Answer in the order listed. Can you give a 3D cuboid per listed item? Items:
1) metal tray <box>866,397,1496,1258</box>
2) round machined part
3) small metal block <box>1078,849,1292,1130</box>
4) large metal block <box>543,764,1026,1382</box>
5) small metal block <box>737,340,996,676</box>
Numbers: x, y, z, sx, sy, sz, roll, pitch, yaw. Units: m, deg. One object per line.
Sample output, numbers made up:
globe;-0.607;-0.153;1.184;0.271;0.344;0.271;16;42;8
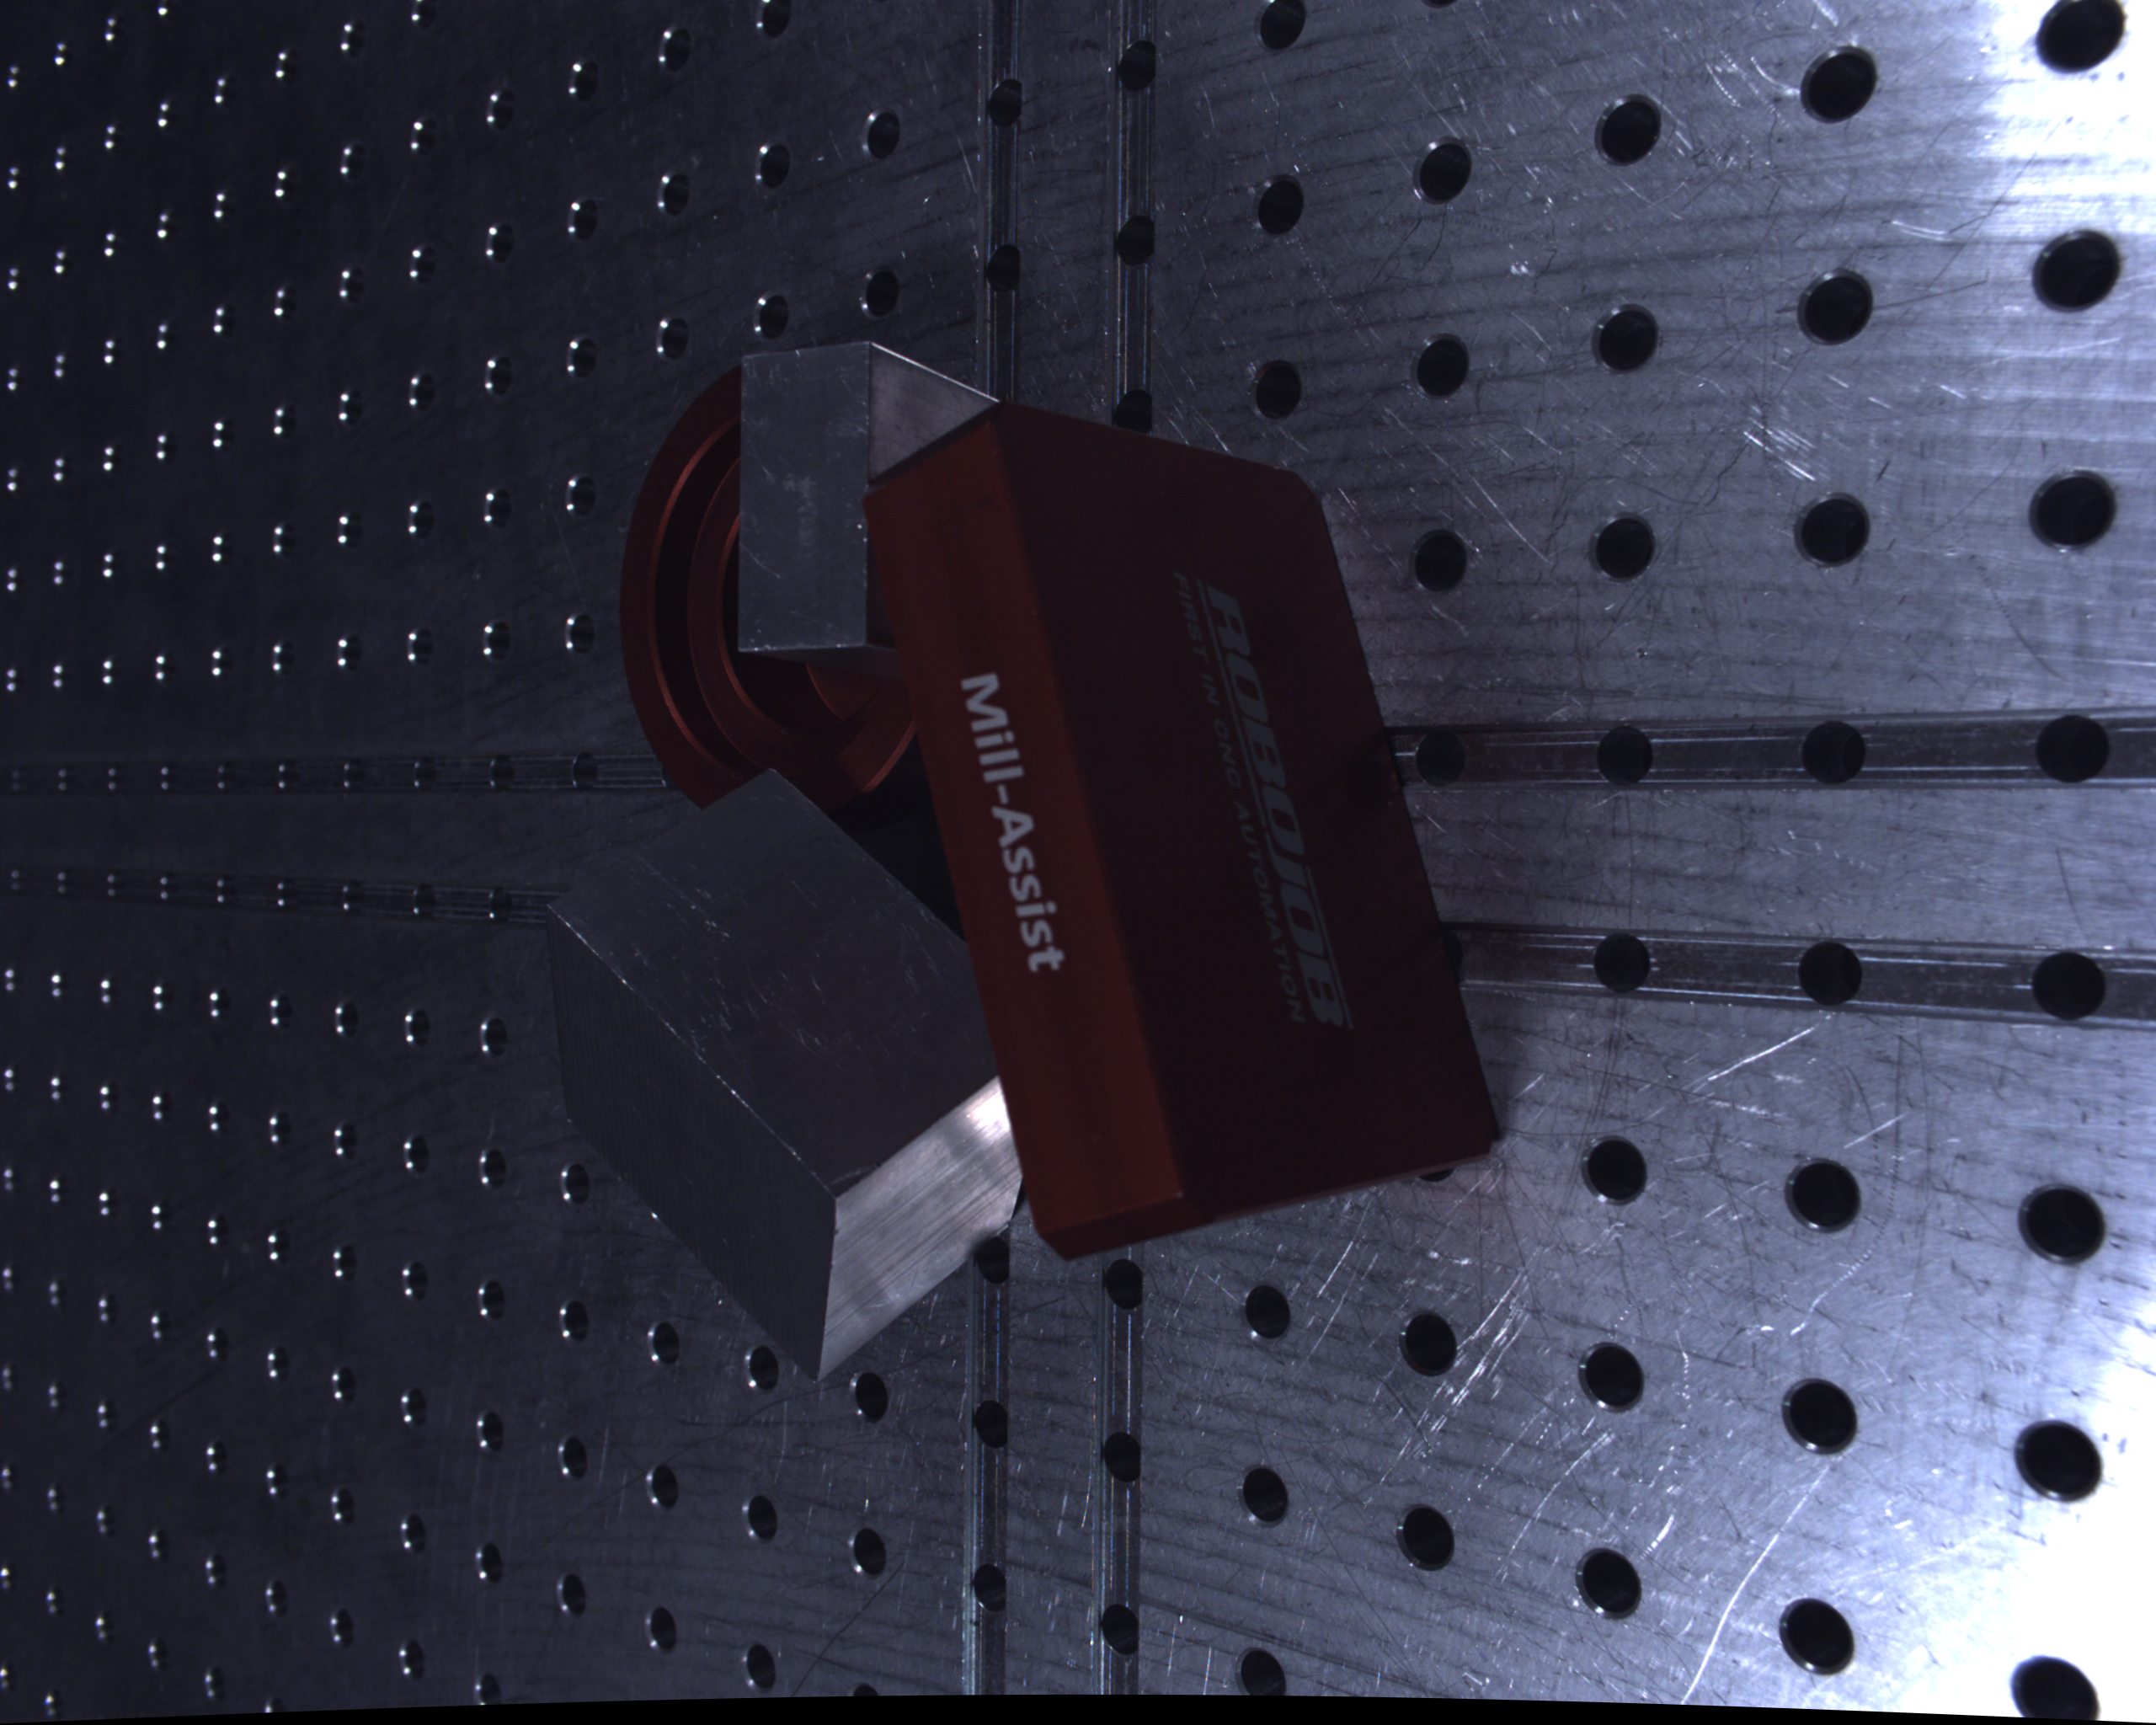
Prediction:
metal tray;0.019;-0.006;0.349;0.030;0.091;0.129;-23;76;38
round machined part;-0.048;-0.055;0.436;0.098;0.042;0.097;0;90;39
small metal block;0.015;0.025;0.389;0.050;0.025;0.050;19;107;49
large metal block;-0.056;0.042;0.408;0.080;0.050;0.080;41;147;20
small metal block;-0.034;-0.060;0.366;0.025;0.050;0.050;0;89;26
